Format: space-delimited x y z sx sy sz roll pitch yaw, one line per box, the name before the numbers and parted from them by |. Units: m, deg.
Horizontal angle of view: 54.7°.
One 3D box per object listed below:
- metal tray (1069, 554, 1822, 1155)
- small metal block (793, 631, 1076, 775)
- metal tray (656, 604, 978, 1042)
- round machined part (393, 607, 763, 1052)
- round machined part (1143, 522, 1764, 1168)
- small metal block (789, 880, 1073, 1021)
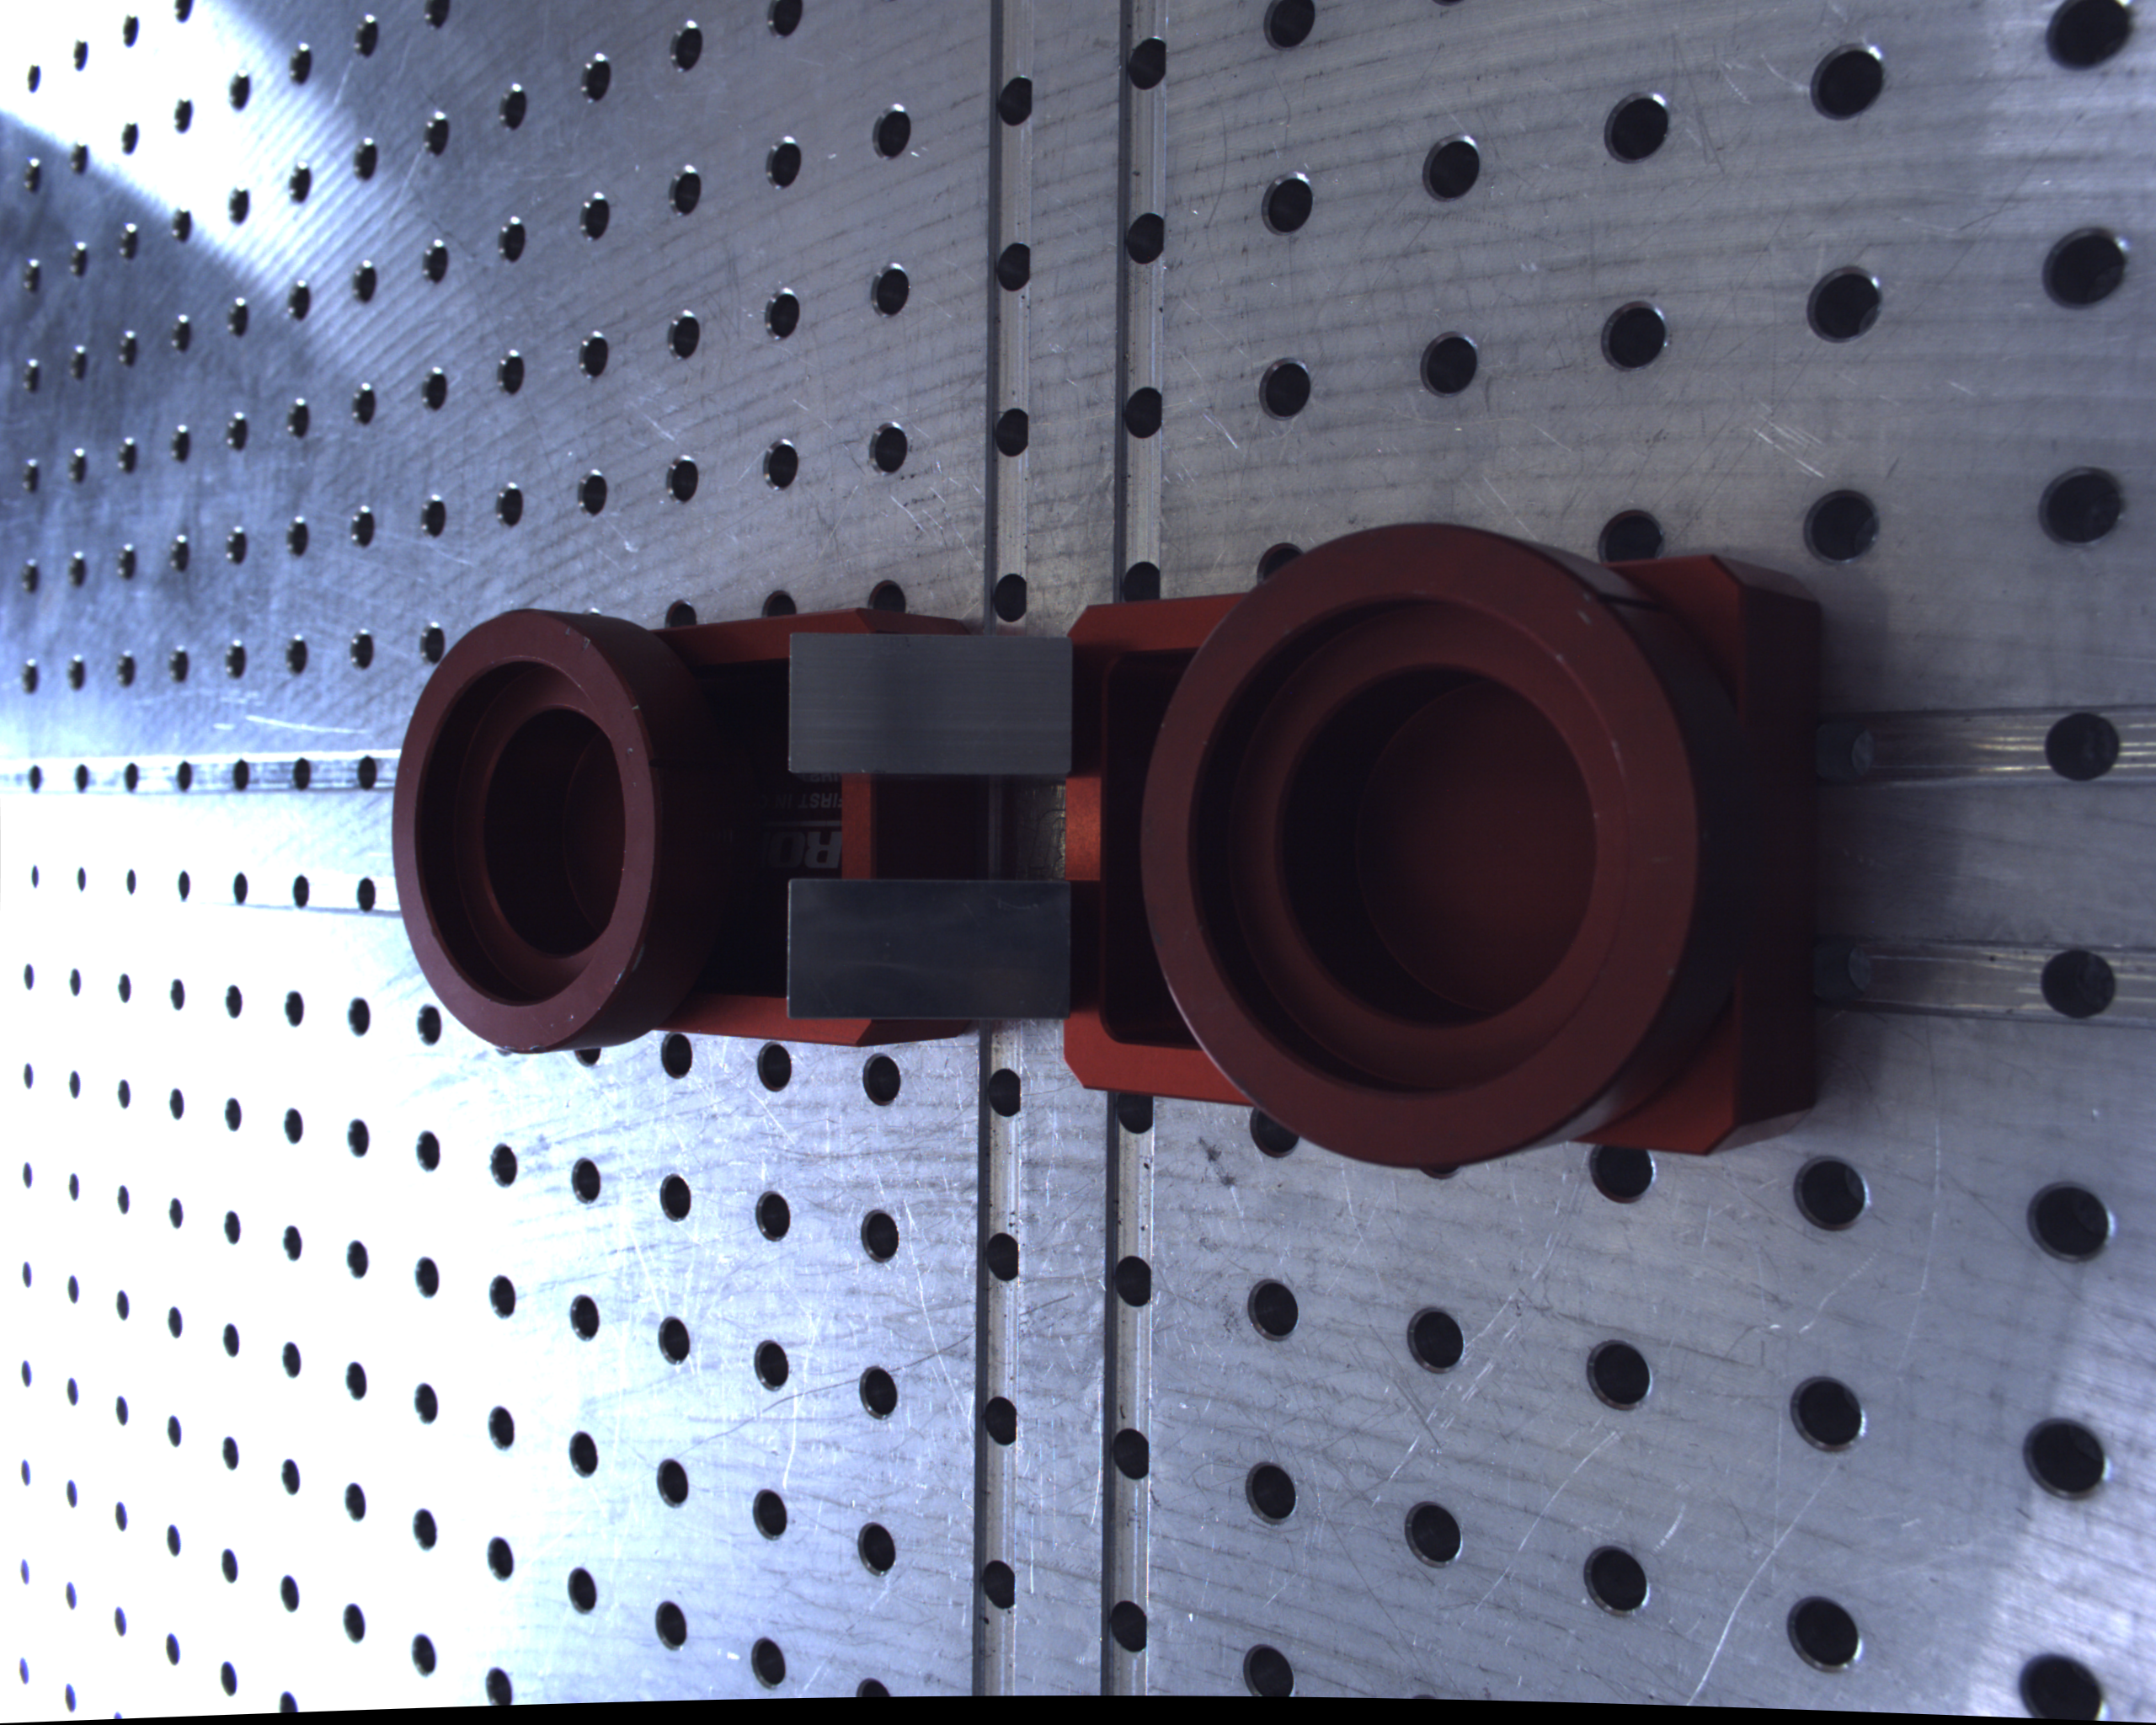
metal tray | 0.058 -0.002 0.359 0.130 0.030 0.089 1 91 40
small metal block | -0.028 -0.029 0.398 0.050 0.050 0.025 -172 82 -84
metal tray | -0.081 -0.008 0.474 0.130 0.030 0.089 -1 92 40
round machined part | -0.110 -0.007 0.473 0.098 0.042 0.097 0 90 40
round machined part | 0.061 -0.003 0.331 0.098 0.042 0.097 0 90 40
small metal block | -0.028 0.015 0.397 0.050 0.050 0.025 -172 82 -84
